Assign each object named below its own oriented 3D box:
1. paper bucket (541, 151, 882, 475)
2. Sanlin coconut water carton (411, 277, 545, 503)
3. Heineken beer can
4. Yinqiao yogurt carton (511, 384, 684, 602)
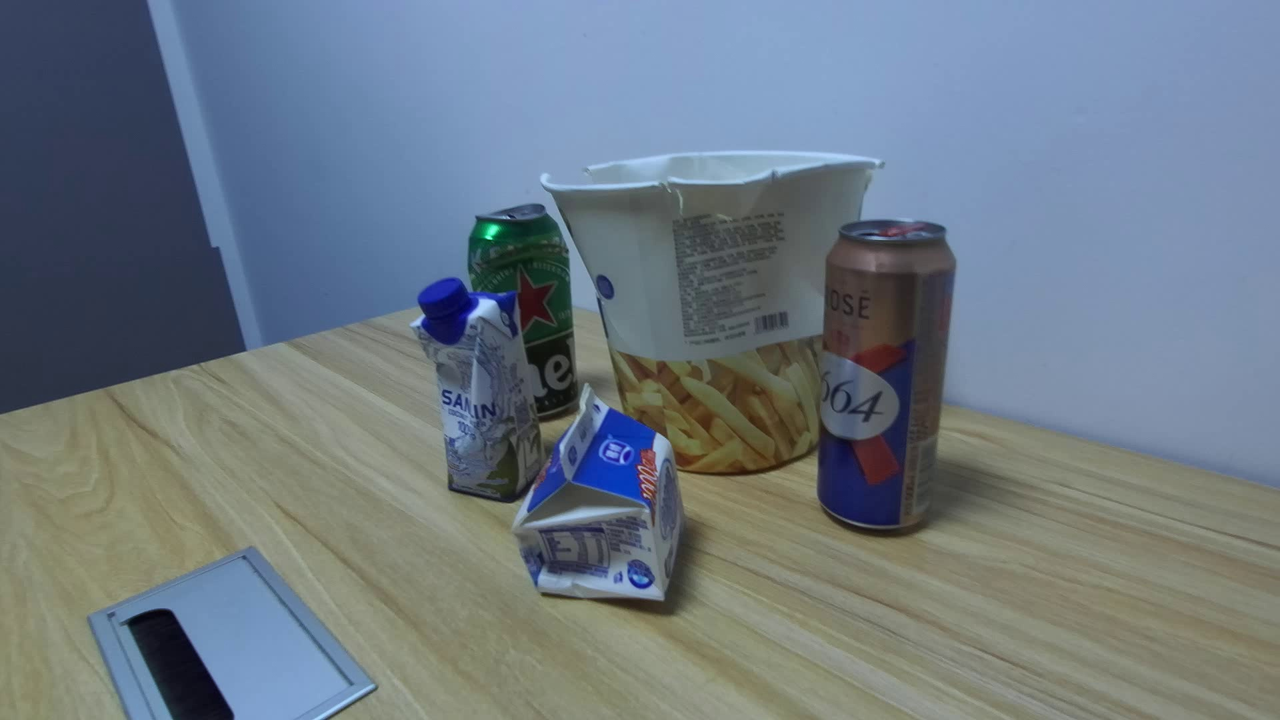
[{"bbox_3d":[0.053,-0.040,0.501,0.203,0.197,0.145,-16,23,-32],"label":"paper bucket"},{"bbox_3d":[-0.103,0.015,0.459,0.060,0.144,0.070,6,24,26],"label":"Sanlin coconut water carton"},{"bbox_3d":[-0.088,-0.036,0.564,0.078,0.164,0.066,-10,20,-9],"label":"Heineken beer can"},{"bbox_3d":[-0.026,0.068,0.370,0.080,0.097,0.074,-7,21,13],"label":"Yinqiao yogurt carton"}]
